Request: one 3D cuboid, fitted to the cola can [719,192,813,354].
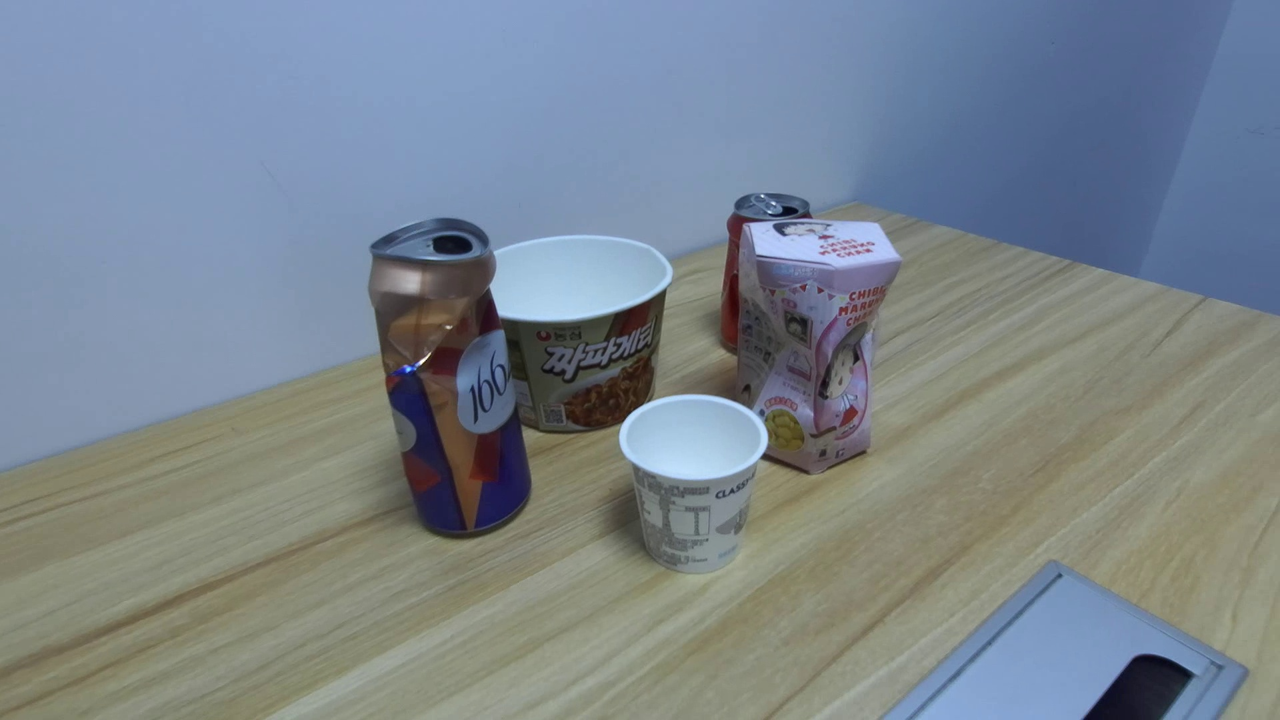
[{"bbox_3d":[0.096,-0.065,0.540,0.066,0.117,0.066,-7,30,-7],"label":"cola can"}]

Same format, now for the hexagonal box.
[{"bbox_3d":[0.098,-0.009,0.419,0.093,0.135,0.089,13,33,23],"label":"hexagonal box"}]

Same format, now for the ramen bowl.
[{"bbox_3d":[-0.046,-0.018,0.485,0.140,0.095,0.140,-1,29,1],"label":"ramen bowl"}]

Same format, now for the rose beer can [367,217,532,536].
[{"bbox_3d":[-0.098,0.013,0.371,0.068,0.162,0.073,-15,33,-22],"label":"rose beer can"}]

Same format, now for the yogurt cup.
[{"bbox_3d":[0.027,0.065,0.360,0.072,0.068,0.072,-2,30,1],"label":"yogurt cup"}]
